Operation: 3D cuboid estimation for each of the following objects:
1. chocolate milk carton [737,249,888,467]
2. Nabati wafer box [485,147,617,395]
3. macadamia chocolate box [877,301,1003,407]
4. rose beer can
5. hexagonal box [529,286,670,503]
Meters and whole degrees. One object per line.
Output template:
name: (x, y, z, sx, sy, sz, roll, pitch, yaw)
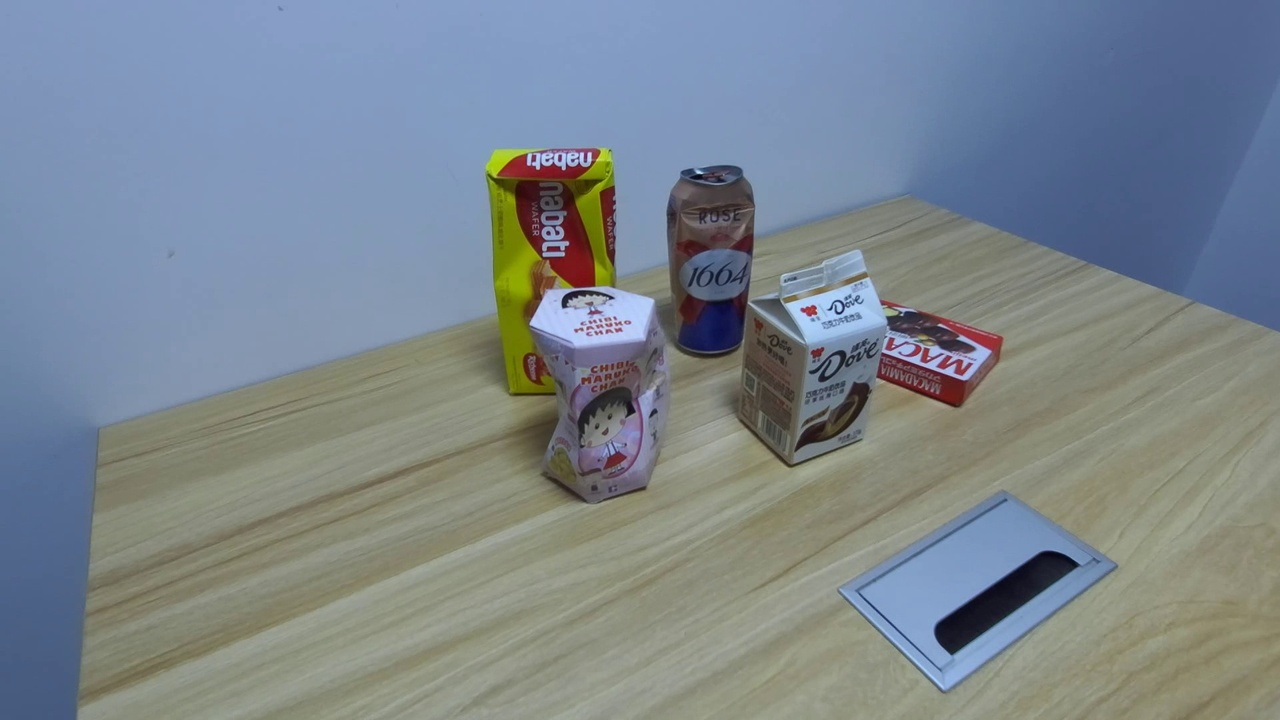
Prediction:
chocolate milk carton: (0.127, -0.008, 0.525, 0.075, 0.148, 0.073, -15, 36, -23)
Nabati wafer box: (-0.067, -0.065, 0.577, 0.096, 0.203, 0.042, 1, 32, -1)
macadamia chocolate box: (0.229, -0.021, 0.662, 0.186, 0.027, 0.103, 24, 40, 34)
rose beer can: (0.064, -0.088, 0.636, 0.076, 0.167, 0.065, -2, 31, 4)
hexagonal box: (-0.032, 0.025, 0.498, 0.093, 0.135, 0.089, 20, 39, 30)
